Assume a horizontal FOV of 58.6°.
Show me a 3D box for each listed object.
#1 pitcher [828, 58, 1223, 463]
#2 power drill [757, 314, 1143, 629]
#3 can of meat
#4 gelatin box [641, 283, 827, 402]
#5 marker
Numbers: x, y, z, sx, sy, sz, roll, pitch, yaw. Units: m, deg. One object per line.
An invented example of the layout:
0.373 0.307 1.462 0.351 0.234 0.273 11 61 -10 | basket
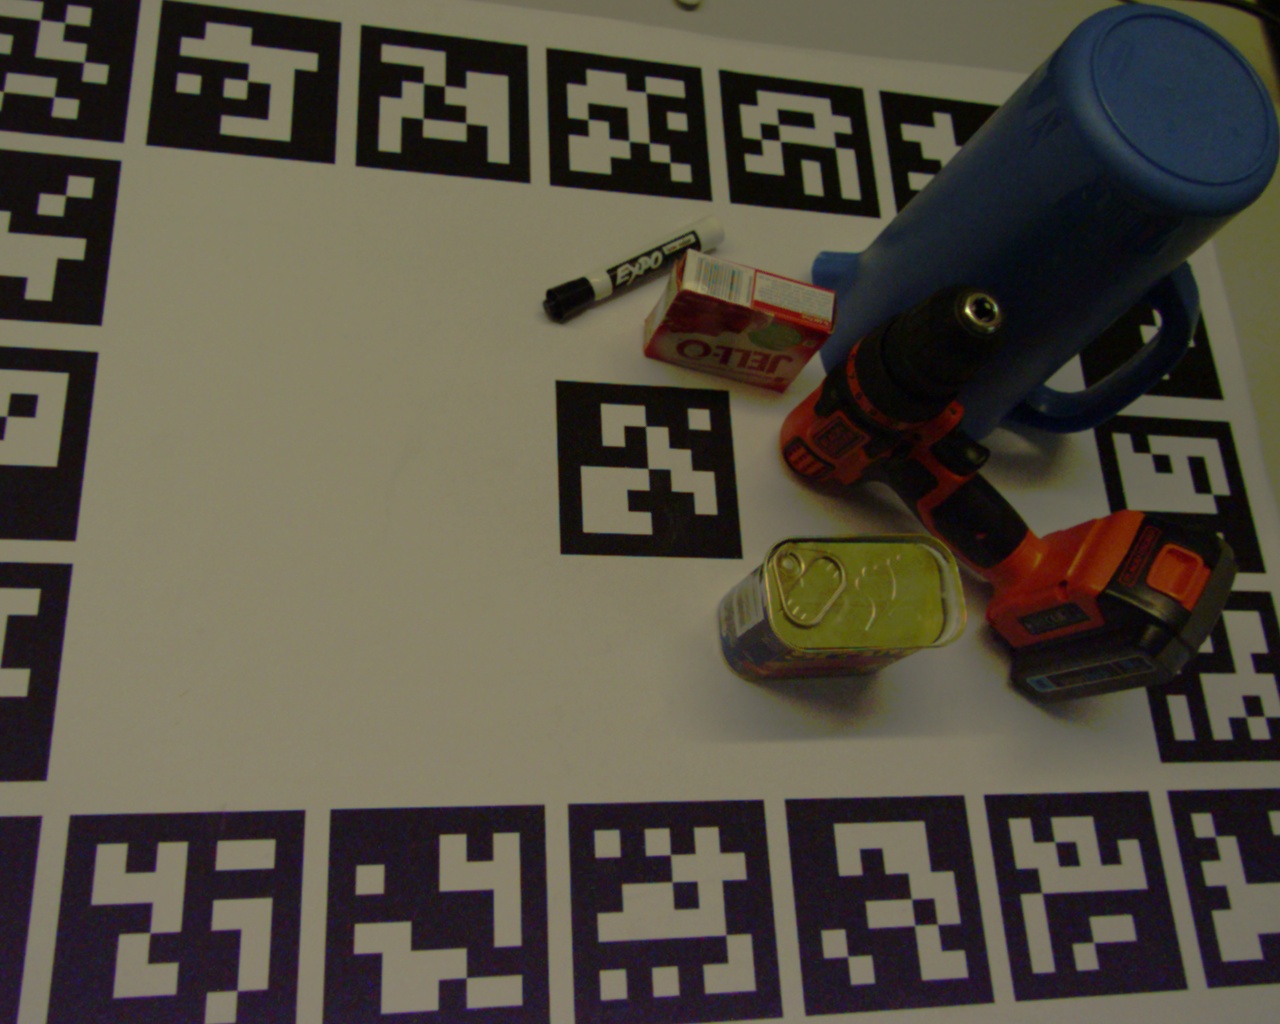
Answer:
0.212 -0.122 0.628 0.189 0.243 0.133 30 70 4 | pitcher
0.166 -0.017 0.606 0.186 0.186 0.057 36 69 -7 | power drill
0.093 0.057 0.613 0.101 0.084 0.058 0 70 -15 | can of meat
0.053 -0.096 0.665 0.089 0.073 0.030 12 73 -12 | gelatin box
-0.008 -0.141 0.691 0.120 0.020 0.020 -27 81 -20 | marker
